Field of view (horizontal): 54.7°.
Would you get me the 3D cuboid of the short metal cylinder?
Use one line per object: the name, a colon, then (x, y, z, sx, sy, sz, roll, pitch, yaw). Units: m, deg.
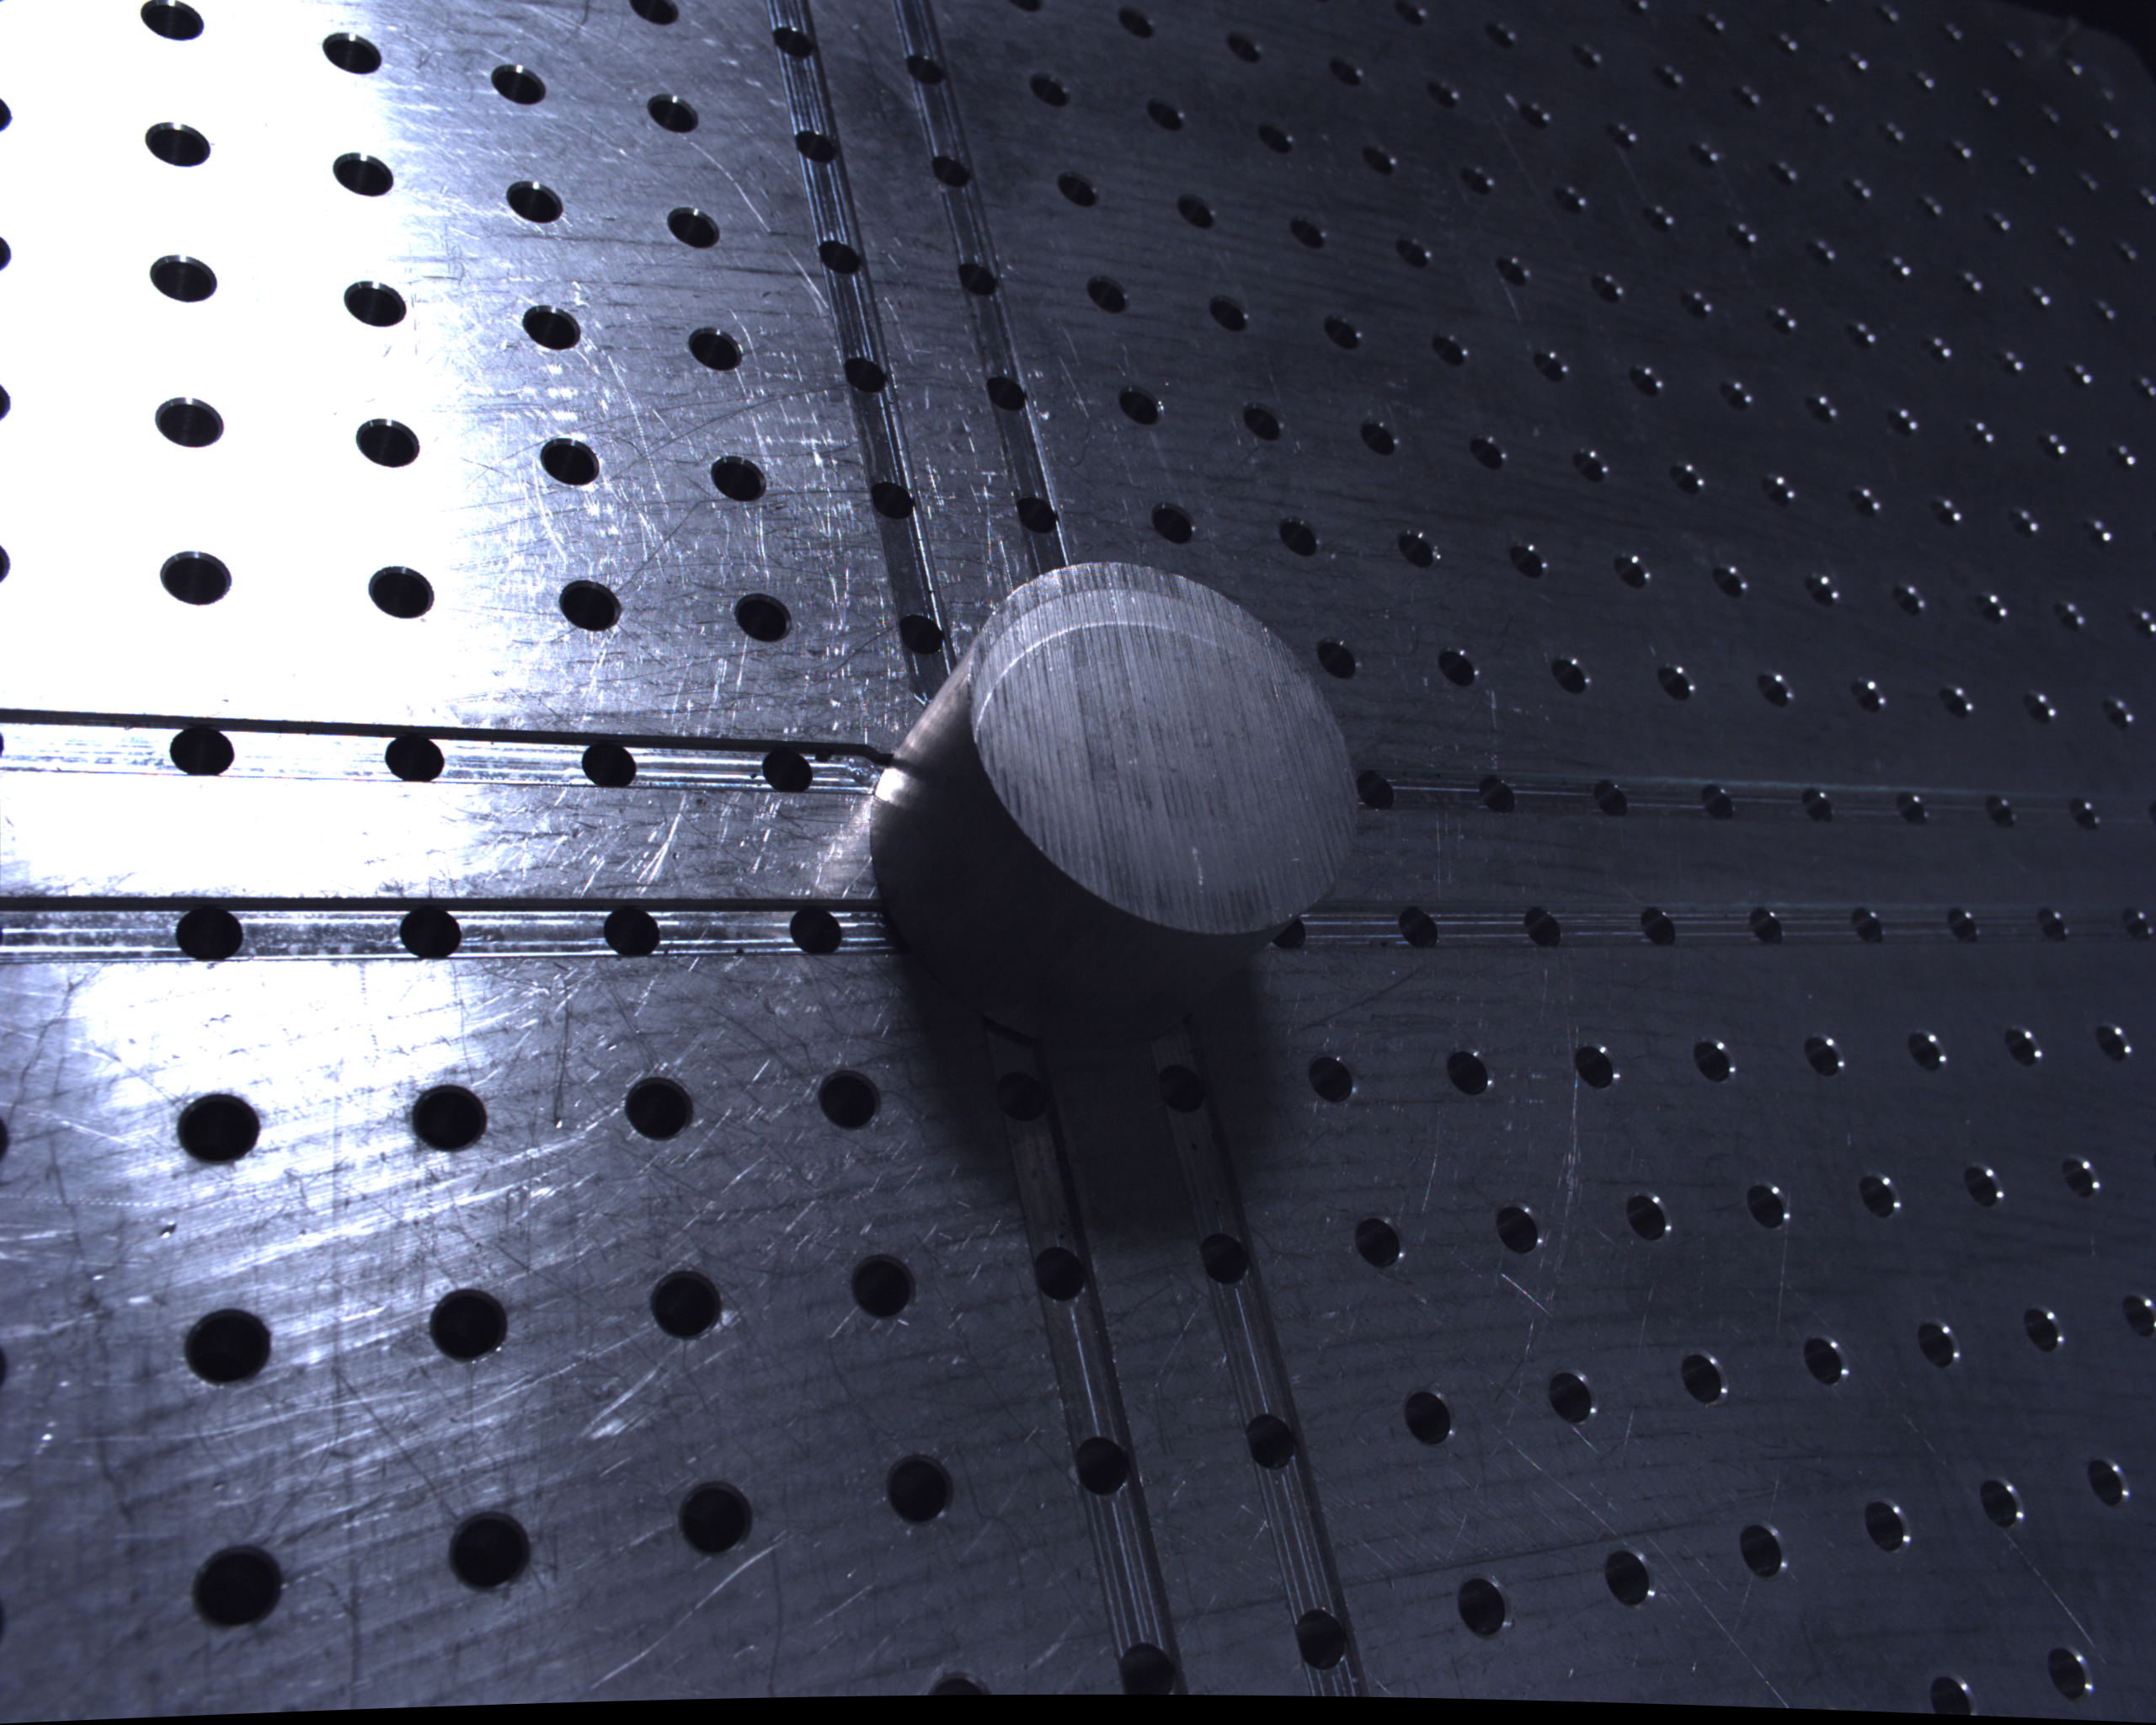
short metal cylinder: (0.006, -0.011, 0.403, 0.081, 0.050, 0.080, 14, 56, -21)
